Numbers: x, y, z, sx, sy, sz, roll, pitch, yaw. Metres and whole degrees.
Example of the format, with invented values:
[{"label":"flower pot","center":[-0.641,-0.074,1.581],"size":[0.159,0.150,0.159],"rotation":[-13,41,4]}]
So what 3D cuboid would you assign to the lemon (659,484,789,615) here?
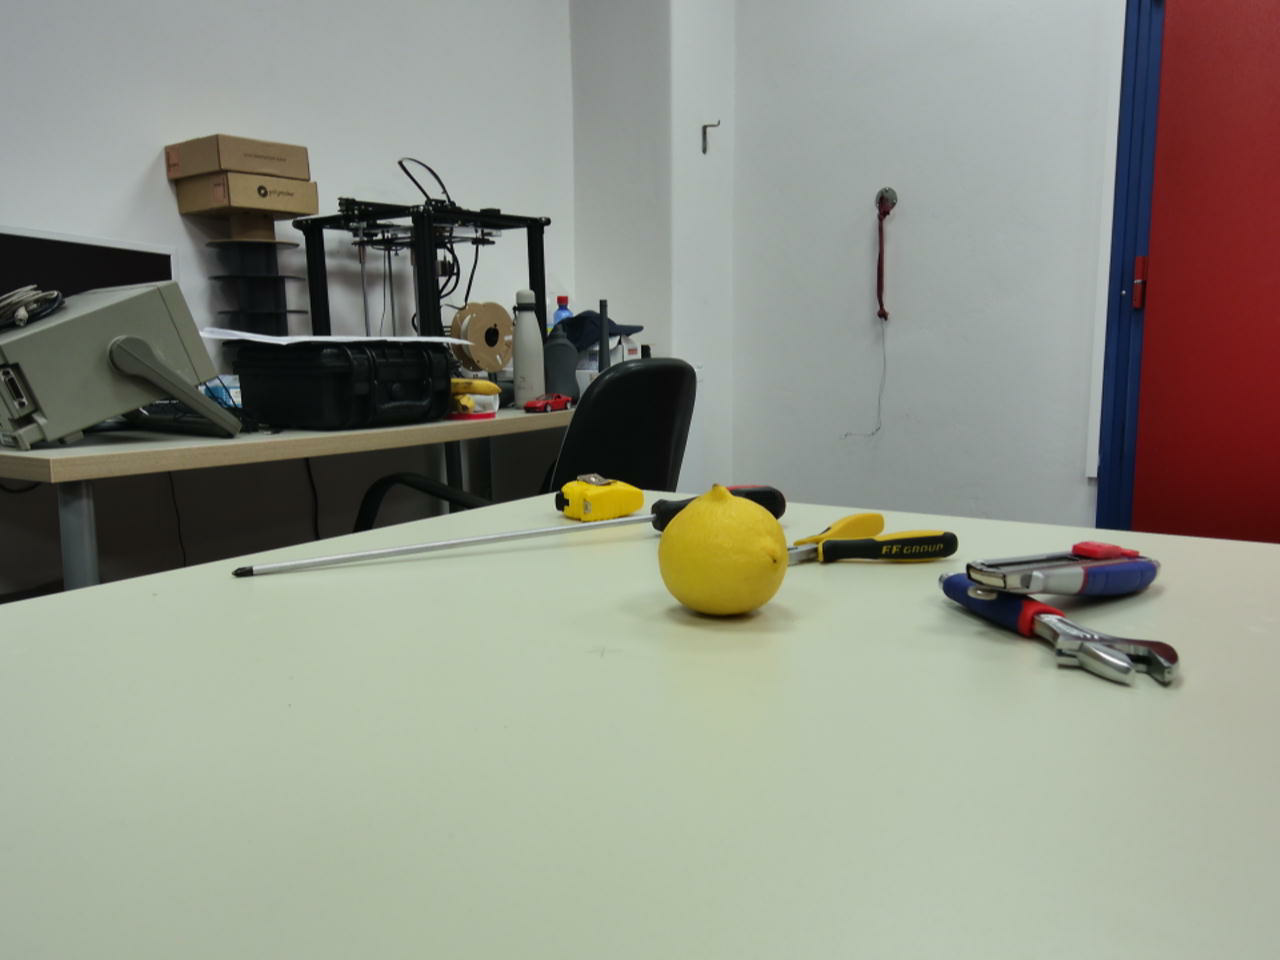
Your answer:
[{"label":"lemon","center":[0.045,0.038,0.550],"size":[0.070,0.071,0.071],"rotation":[0,6,2]}]
